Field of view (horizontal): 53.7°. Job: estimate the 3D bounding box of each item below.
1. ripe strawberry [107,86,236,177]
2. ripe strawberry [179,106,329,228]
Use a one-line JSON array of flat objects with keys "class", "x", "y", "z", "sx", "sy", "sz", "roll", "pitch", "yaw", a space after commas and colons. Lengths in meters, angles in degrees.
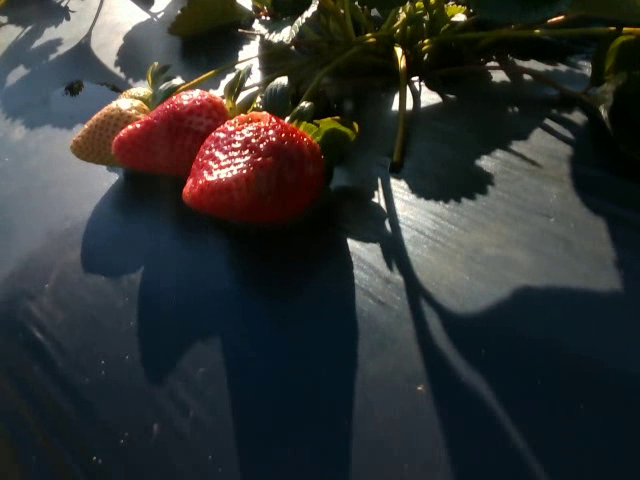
[{"class": "ripe strawberry", "x": -0.058, "y": -0.044, "z": 0.257, "sx": 0.061, "sy": 0.051, "sz": 0.044, "roll": -17, "pitch": -32, "yaw": -19}, {"class": "ripe strawberry", "x": -0.026, "y": -0.023, "z": 0.219, "sx": 0.056, "sy": 0.052, "sz": 0.067, "roll": -26, "pitch": 8, "yaw": 28}]
